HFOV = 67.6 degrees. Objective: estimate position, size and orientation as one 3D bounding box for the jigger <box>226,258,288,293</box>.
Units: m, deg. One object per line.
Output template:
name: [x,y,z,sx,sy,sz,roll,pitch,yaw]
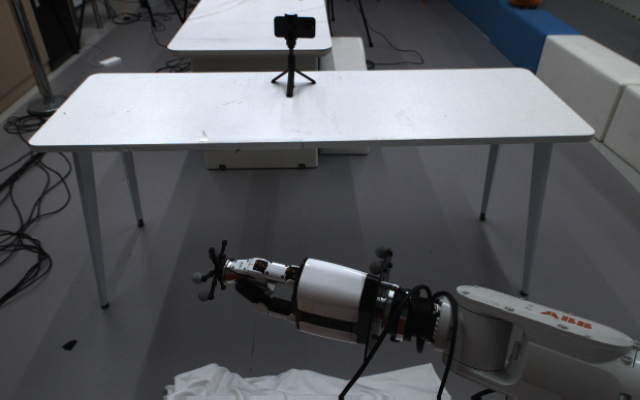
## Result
jigger: [-0.092,0.102,0.684,0.071,0.043,0.043,8,35,15]
